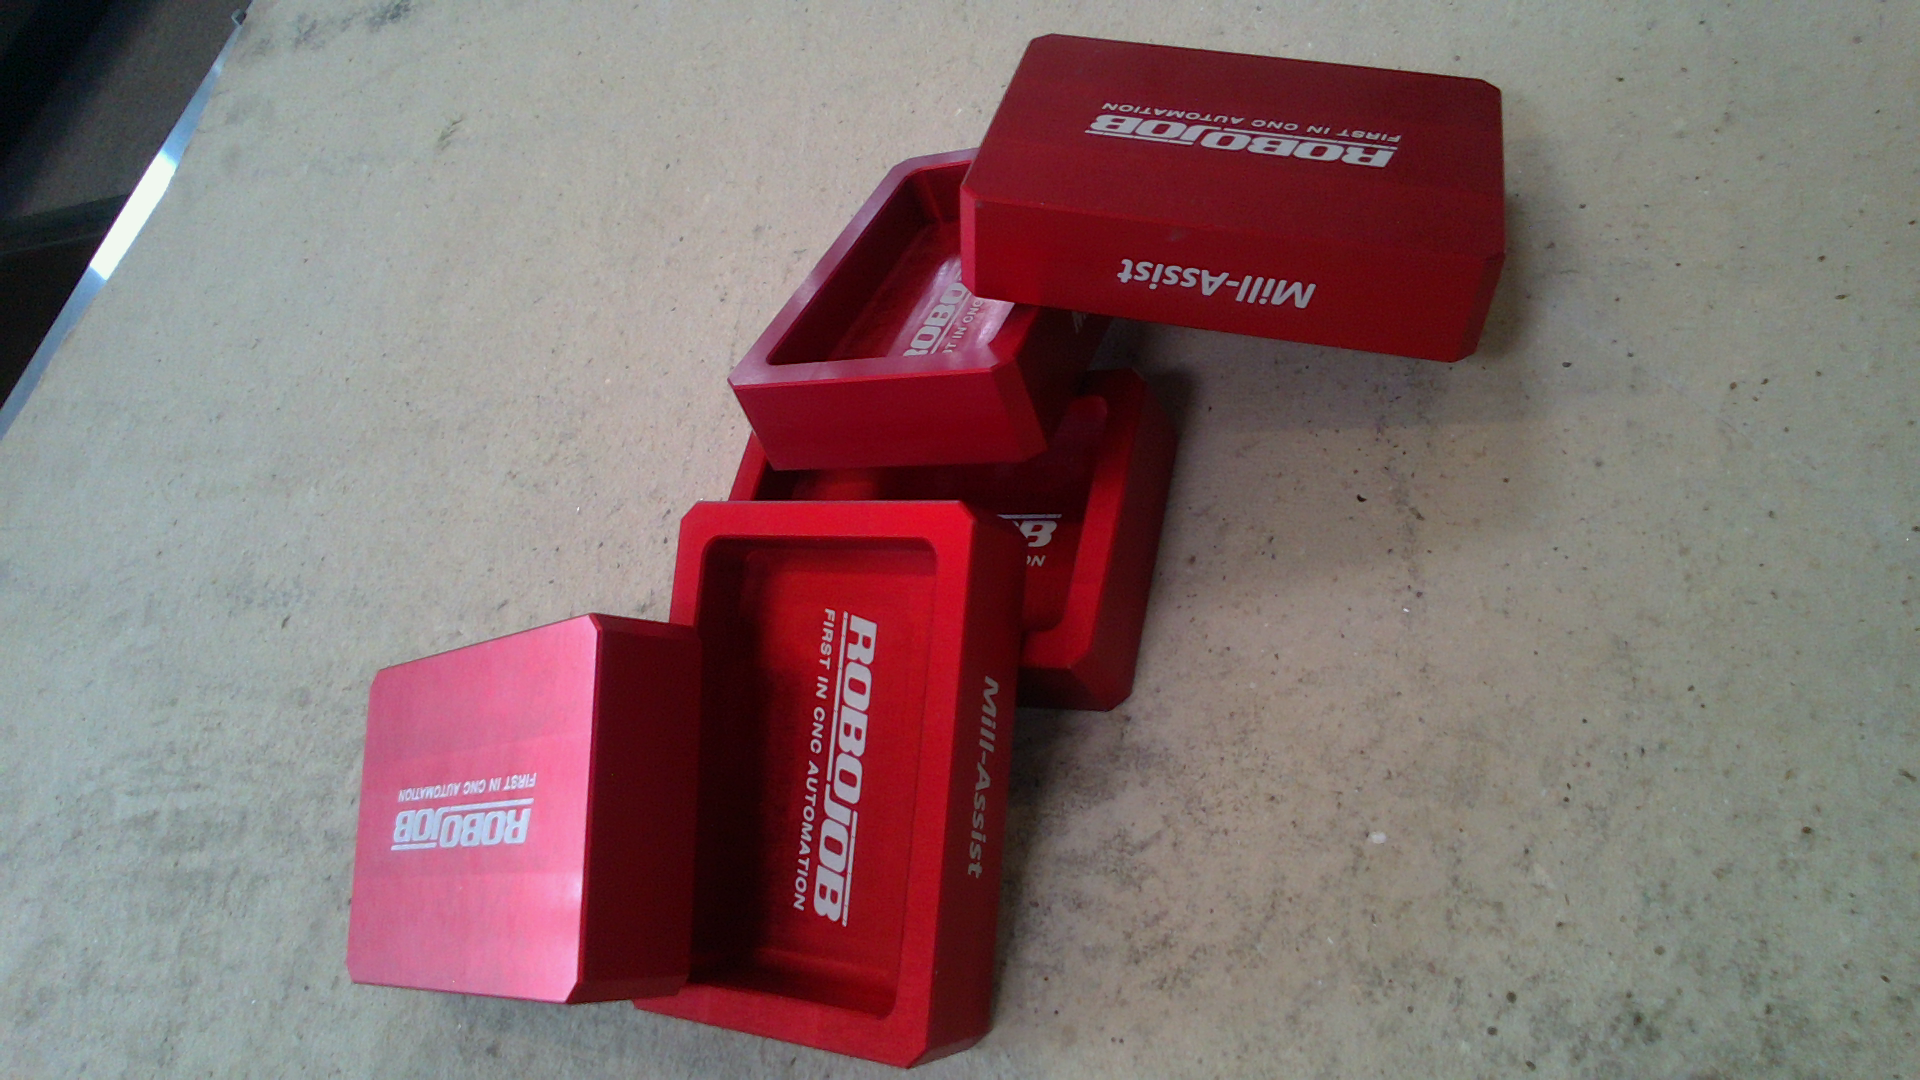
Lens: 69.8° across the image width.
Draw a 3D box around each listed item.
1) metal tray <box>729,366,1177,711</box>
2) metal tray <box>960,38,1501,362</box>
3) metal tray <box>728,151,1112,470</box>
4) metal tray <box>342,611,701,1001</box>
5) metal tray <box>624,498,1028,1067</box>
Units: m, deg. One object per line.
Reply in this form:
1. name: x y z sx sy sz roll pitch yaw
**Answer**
1. metal tray: -0.010 -0.001 0.397 0.130 0.030 0.090 0 62 28
2. metal tray: 0.073 -0.095 0.369 0.130 0.030 0.090 10 46 10
3. metal tray: 0.001 -0.074 0.410 0.090 0.030 0.130 0 42 28
4. metal tray: -0.122 0.074 0.373 0.129 0.030 0.090 -14 70 42
5. metal tray: -0.034 0.056 0.349 0.090 0.030 0.130 1 81 29
